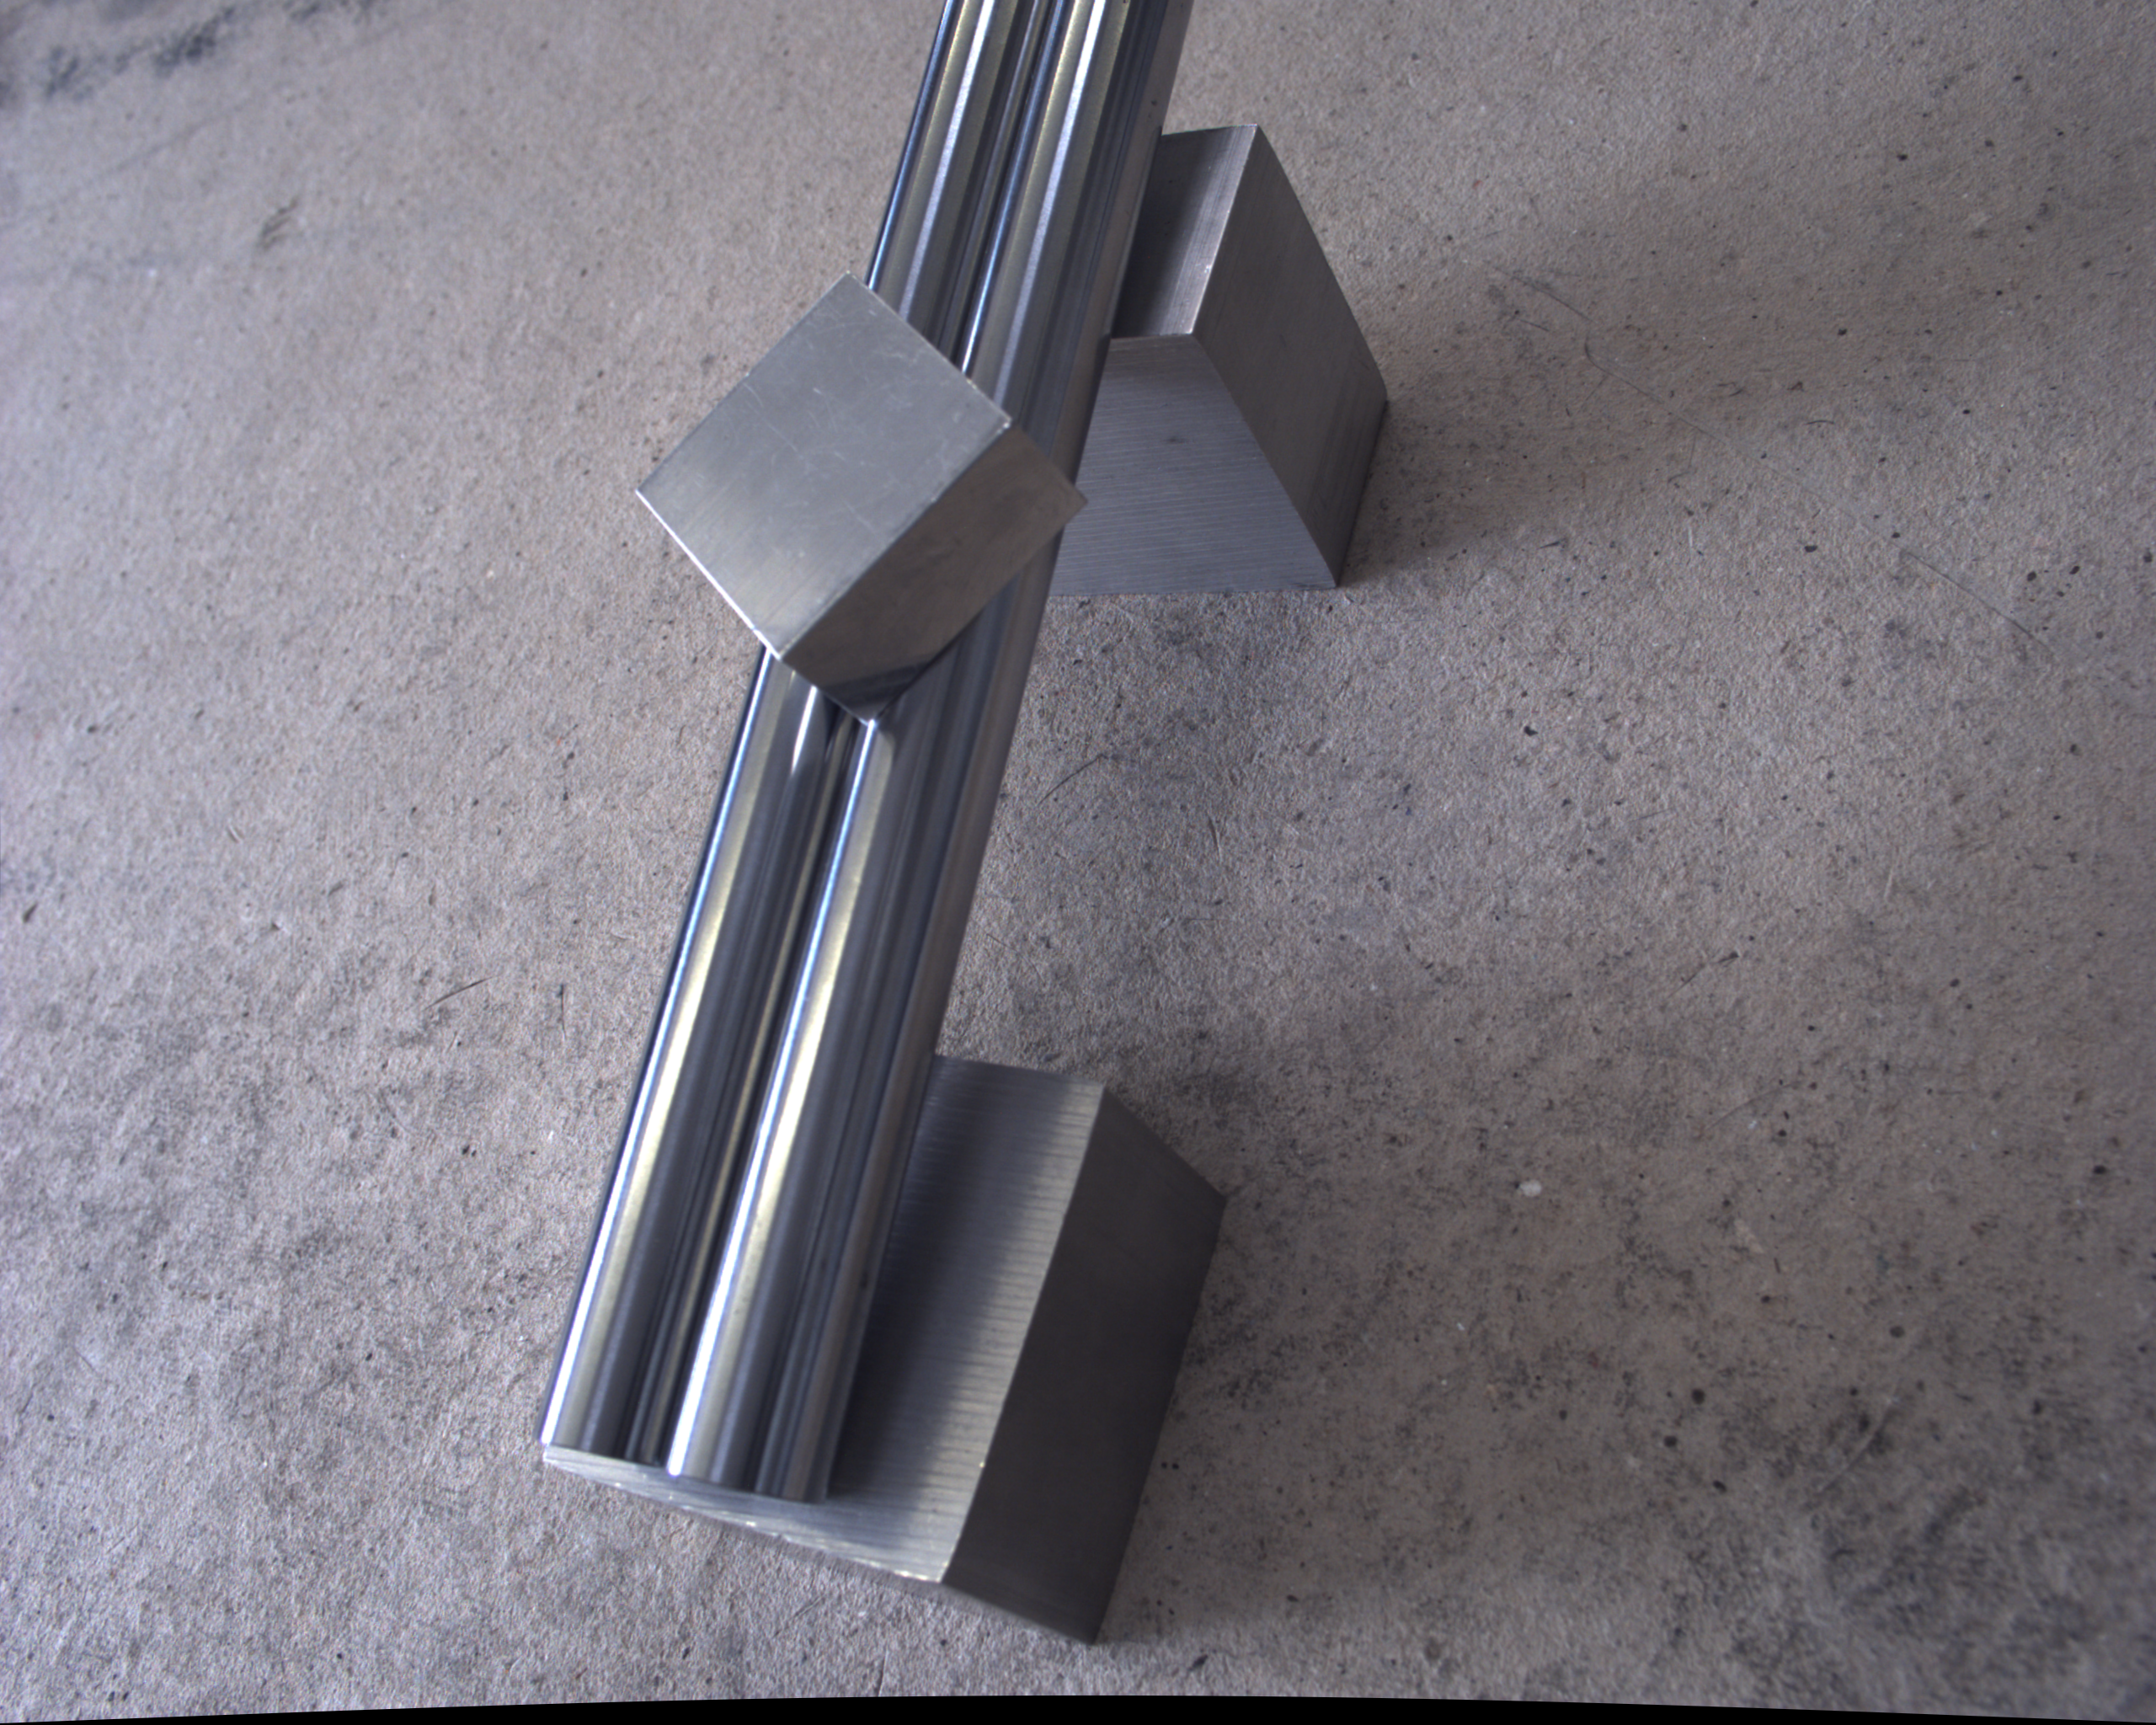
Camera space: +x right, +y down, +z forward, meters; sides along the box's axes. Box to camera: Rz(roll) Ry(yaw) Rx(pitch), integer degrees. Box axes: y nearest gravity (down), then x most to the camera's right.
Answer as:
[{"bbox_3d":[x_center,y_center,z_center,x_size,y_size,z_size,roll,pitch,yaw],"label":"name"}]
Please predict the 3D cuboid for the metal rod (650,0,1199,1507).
[{"bbox_3d":[-0.017,-0.047,0.350,0.025,0.025,0.299,3,70,29],"label":"metal rod"}]

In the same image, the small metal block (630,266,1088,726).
[{"bbox_3d":[-0.036,-0.059,0.335,0.050,0.025,0.050,-45,56,4],"label":"small metal block"}]

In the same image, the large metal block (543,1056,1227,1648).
[{"bbox_3d":[-0.031,0.078,0.356,0.080,0.050,0.080,5,64,30],"label":"large metal block"}]

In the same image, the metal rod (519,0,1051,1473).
[{"bbox_3d":[-0.040,-0.049,0.362,0.025,0.025,0.299,3,70,29],"label":"metal rod"}]

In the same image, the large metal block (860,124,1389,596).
[{"bbox_3d":[0.008,-0.098,0.426,0.080,0.080,0.050,3,64,30],"label":"large metal block"}]
